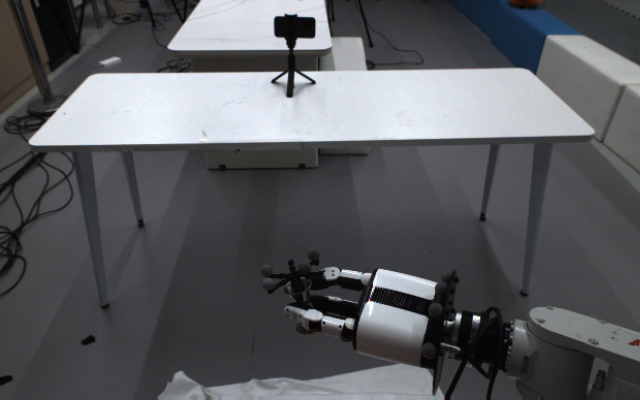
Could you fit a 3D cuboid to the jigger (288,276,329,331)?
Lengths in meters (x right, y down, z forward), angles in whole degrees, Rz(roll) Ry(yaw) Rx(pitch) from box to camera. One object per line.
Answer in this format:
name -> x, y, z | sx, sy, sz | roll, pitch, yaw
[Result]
jigger -> -0.021, 0.149, 0.682 | 0.043, 0.071, 0.043 | -14, 21, 6
